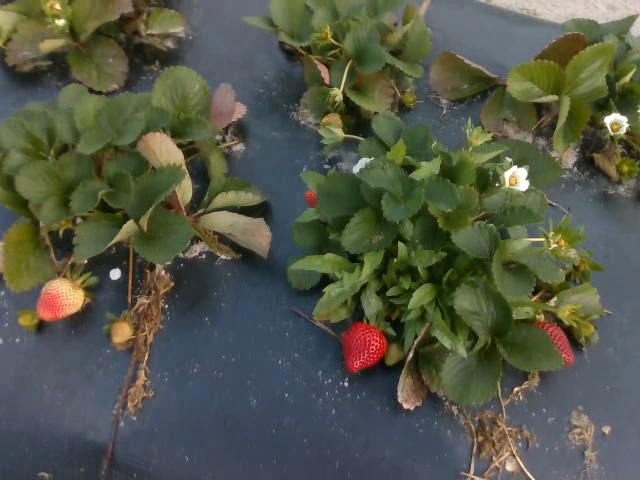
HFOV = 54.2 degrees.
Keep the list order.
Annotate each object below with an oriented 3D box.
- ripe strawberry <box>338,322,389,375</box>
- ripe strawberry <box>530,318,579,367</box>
[{"bbox_3d":[0.035,0.095,0.529,0.043,0.051,0.043,24,-31,7],"label":"ripe strawberry"},{"bbox_3d":[0.198,0.092,0.533,0.046,0.043,0.046,37,-4,38],"label":"ripe strawberry"}]
